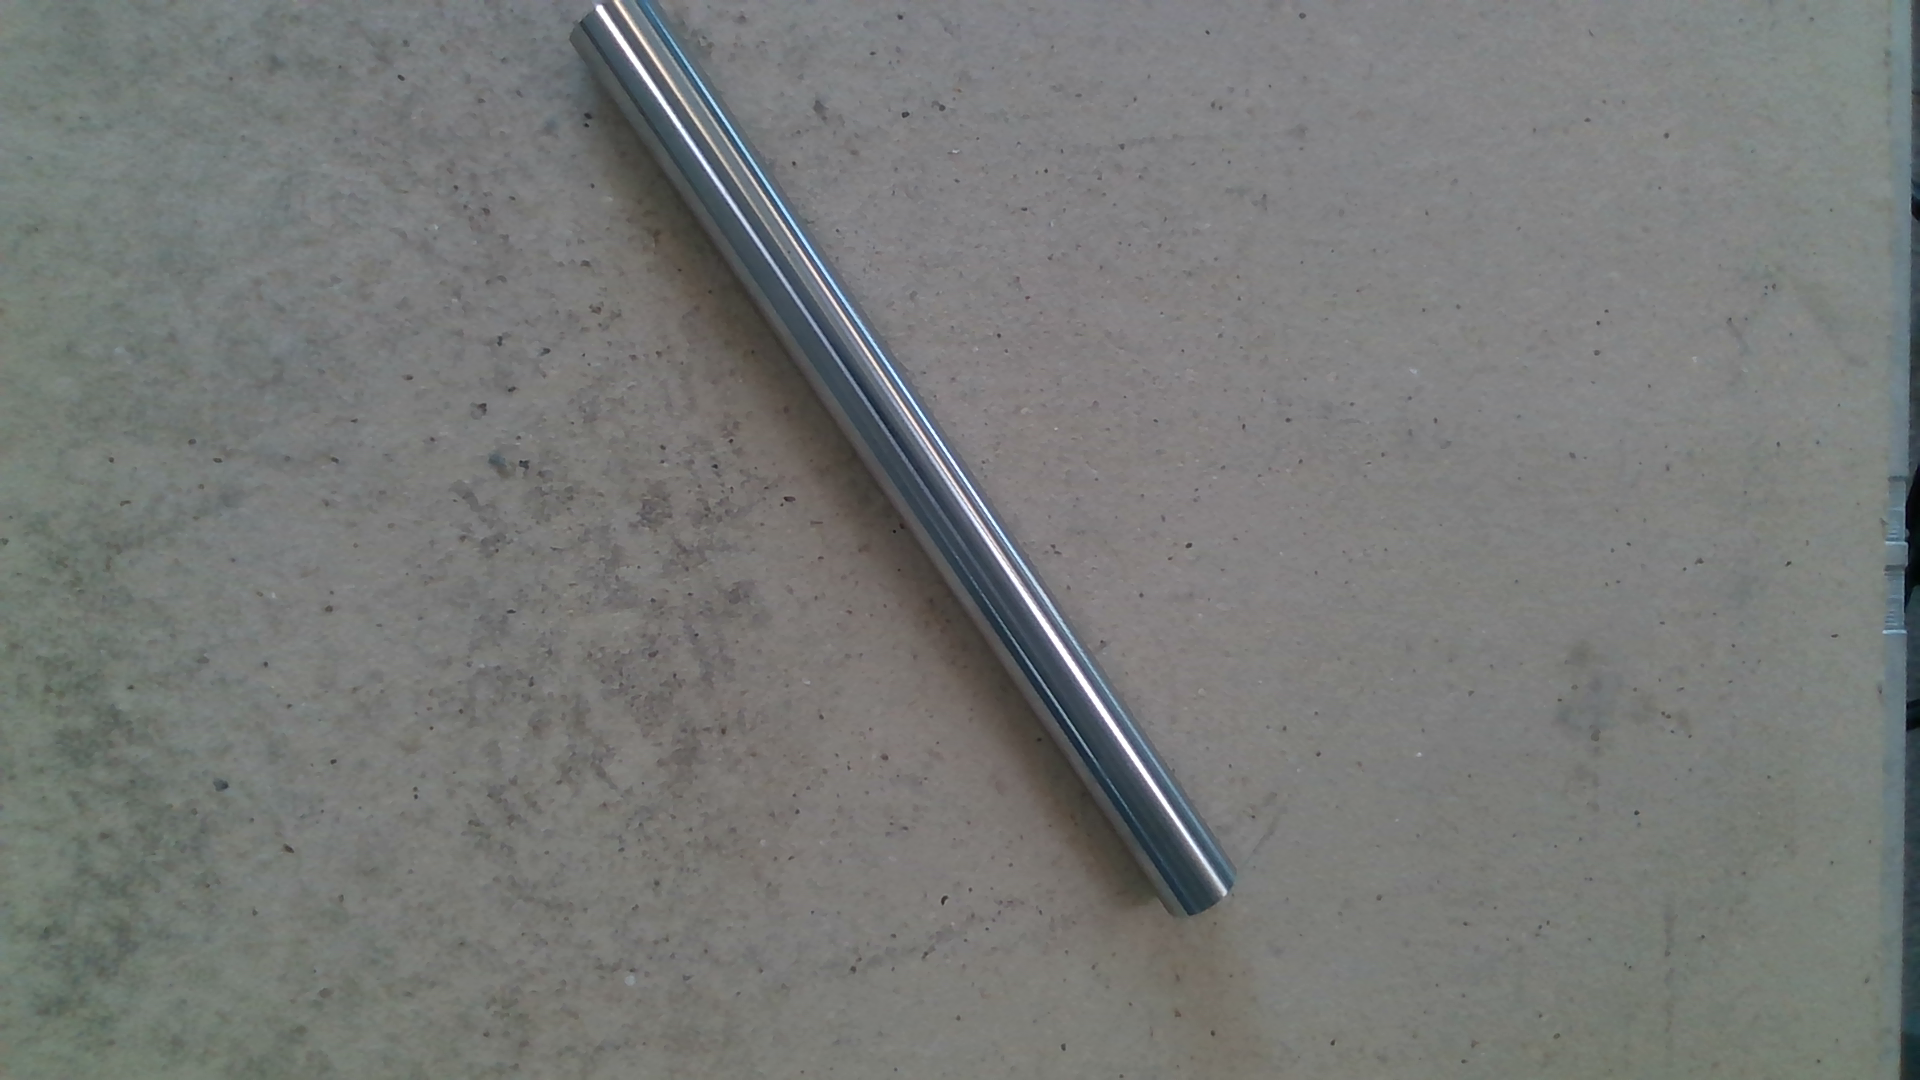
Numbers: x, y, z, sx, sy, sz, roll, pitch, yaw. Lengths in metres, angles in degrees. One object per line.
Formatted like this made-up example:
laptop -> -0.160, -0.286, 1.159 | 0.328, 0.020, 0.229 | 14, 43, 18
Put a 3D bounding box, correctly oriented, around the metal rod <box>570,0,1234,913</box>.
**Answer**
metal rod -> -0.009, -0.016, 0.391 | 0.025, 0.025, 0.300 | -38, 102, -16
